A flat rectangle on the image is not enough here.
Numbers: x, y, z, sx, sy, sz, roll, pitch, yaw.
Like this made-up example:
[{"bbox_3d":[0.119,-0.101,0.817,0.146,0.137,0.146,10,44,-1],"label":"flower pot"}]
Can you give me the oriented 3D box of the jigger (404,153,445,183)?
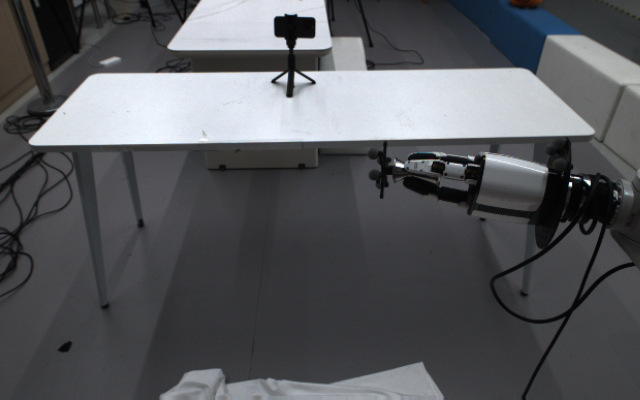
[{"bbox_3d":[0.154,-0.049,0.735,0.071,0.043,0.043,3,34,17],"label":"jigger"}]
